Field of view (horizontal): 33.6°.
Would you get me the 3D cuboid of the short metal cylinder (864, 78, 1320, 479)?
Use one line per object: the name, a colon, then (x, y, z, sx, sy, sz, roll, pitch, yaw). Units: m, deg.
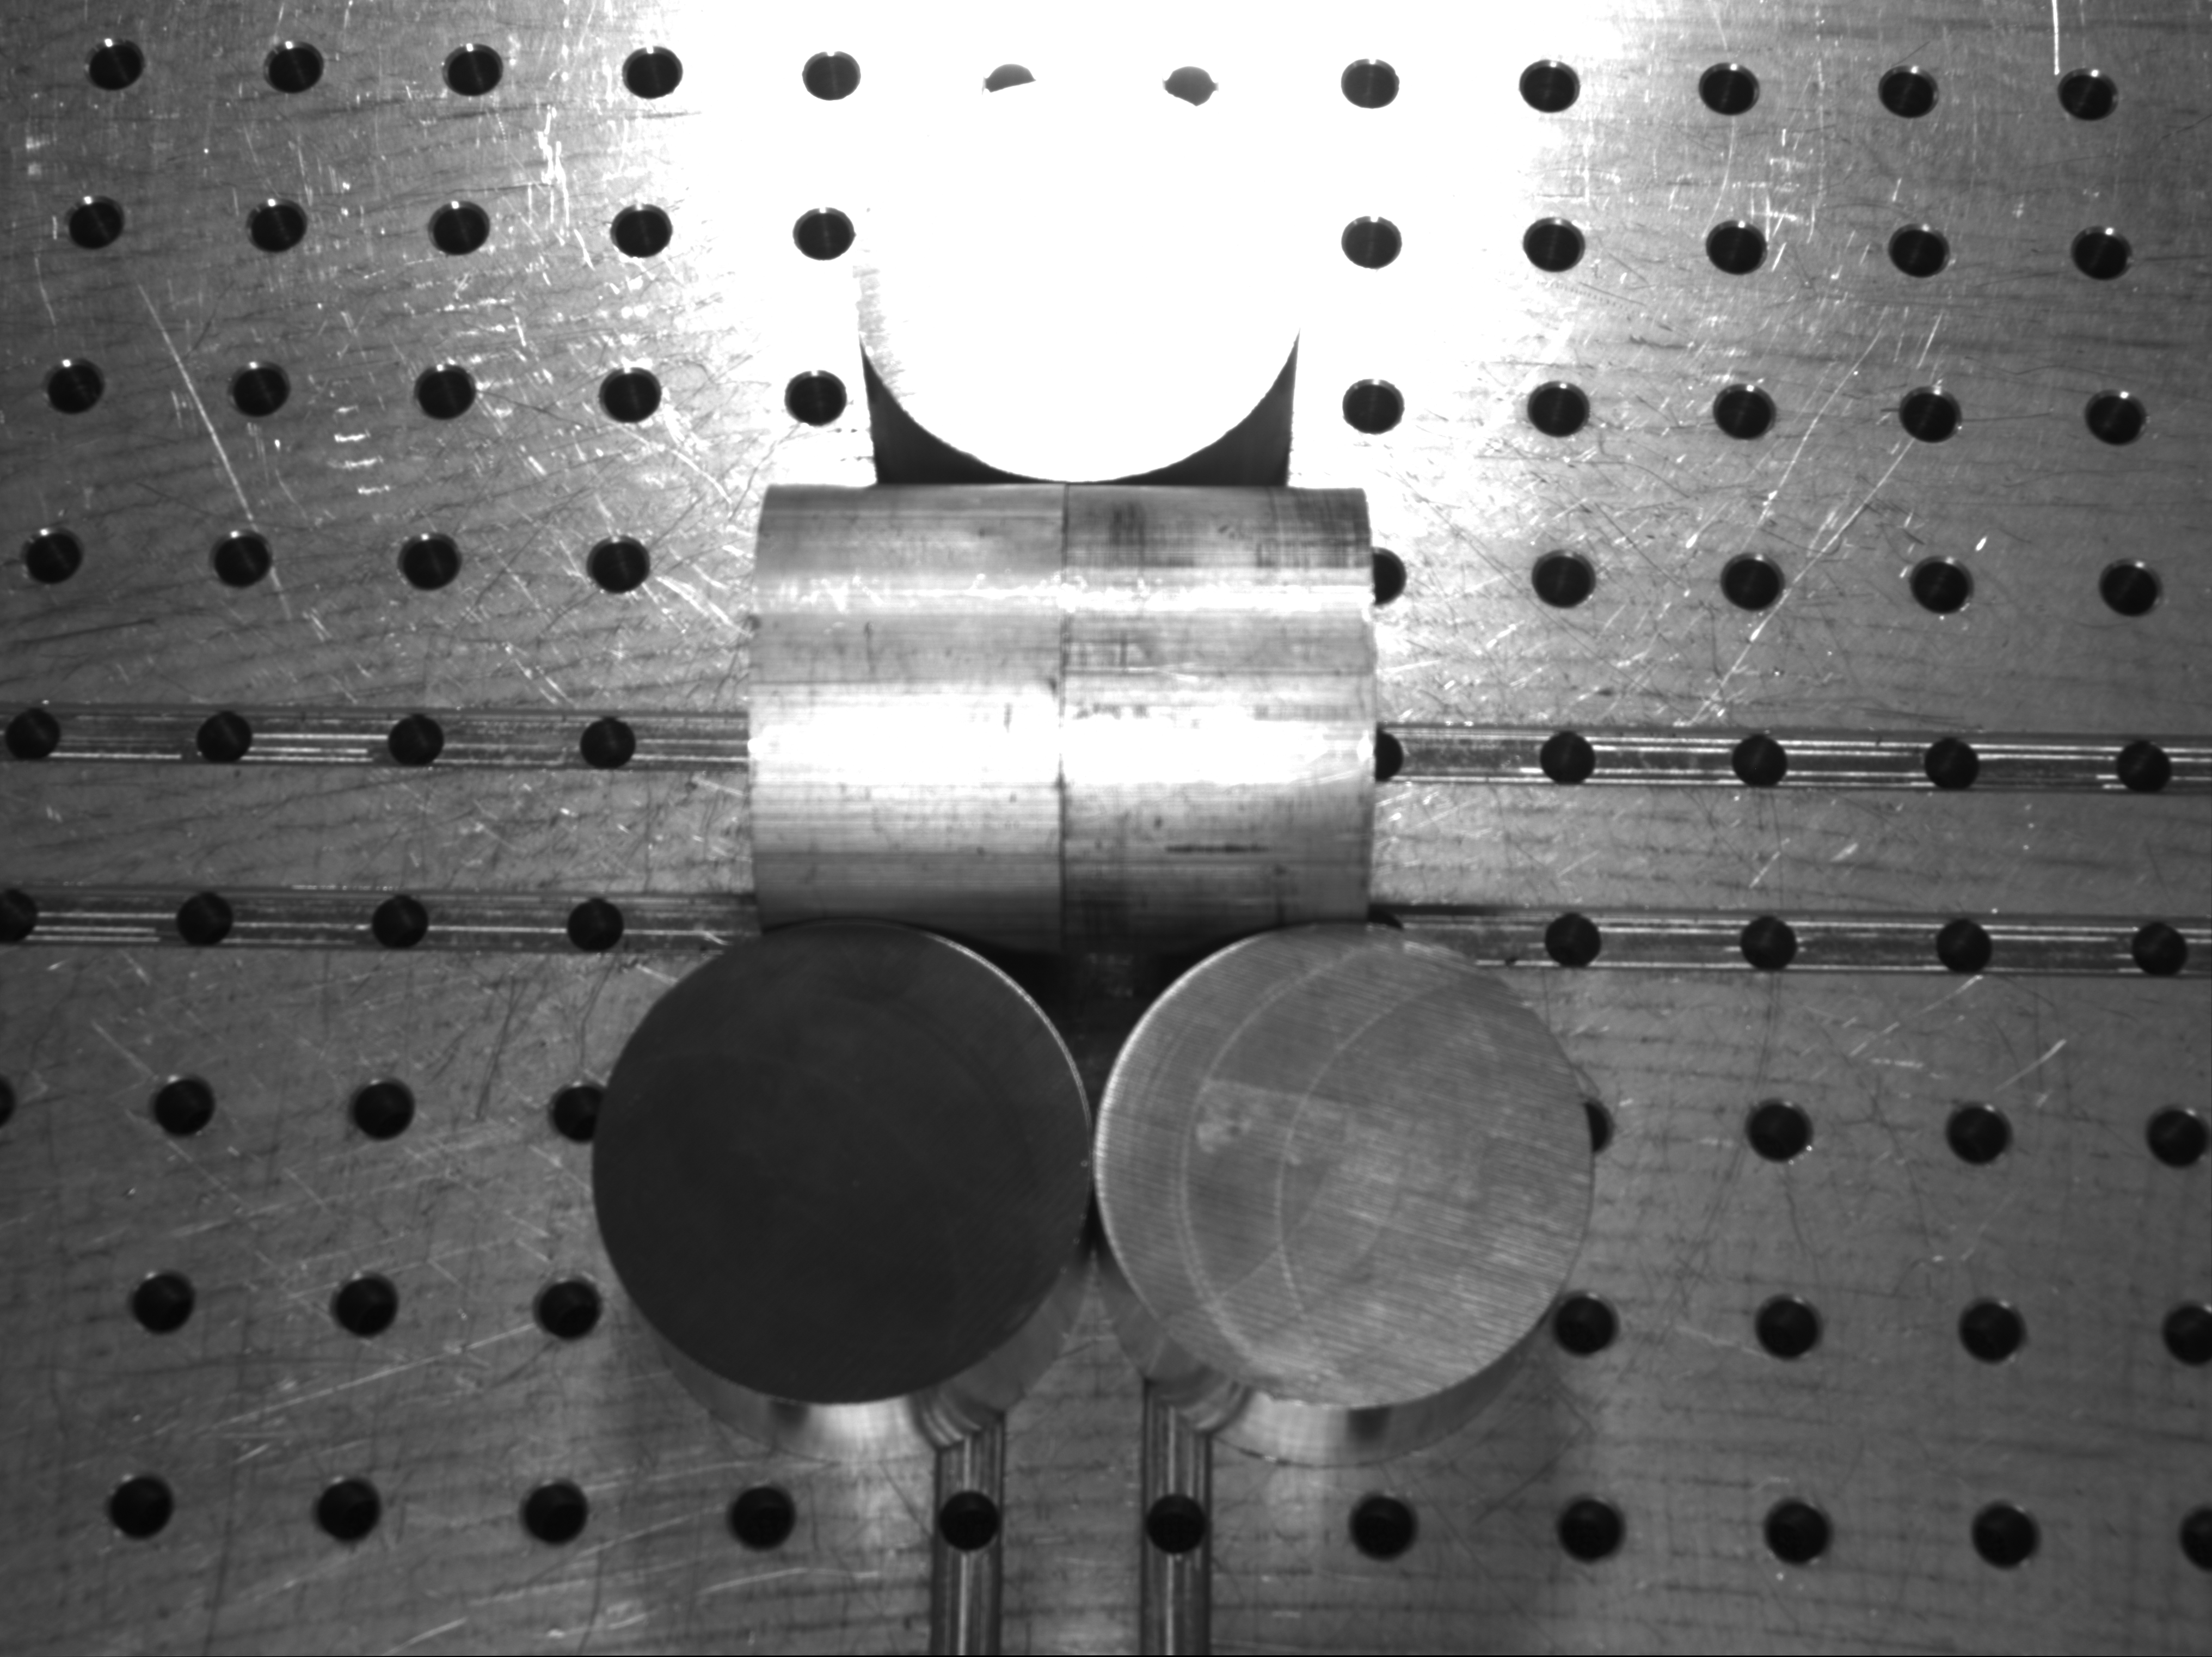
short metal cylinder: (-0.002, -0.088, 0.666, 0.080, 0.050, 0.080, 0, 70, 0)

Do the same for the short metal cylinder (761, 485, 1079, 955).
short metal cylinder: (-0.030, -0.018, 0.625, 0.050, 0.080, 0.080, 0, 70, 0)

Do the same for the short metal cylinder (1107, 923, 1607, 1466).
short metal cylinder: (0.040, 0.062, 0.610, 0.080, 0.050, 0.080, 0, 70, 0)

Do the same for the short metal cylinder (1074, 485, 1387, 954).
short metal cylinder: (0.020, -0.018, 0.625, 0.050, 0.080, 0.080, 0, 70, 0)

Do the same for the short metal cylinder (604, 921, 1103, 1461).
short metal cylinder: (-0.040, 0.061, 0.610, 0.080, 0.050, 0.080, 0, 70, 0)
